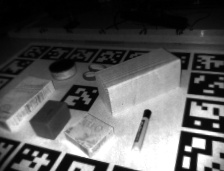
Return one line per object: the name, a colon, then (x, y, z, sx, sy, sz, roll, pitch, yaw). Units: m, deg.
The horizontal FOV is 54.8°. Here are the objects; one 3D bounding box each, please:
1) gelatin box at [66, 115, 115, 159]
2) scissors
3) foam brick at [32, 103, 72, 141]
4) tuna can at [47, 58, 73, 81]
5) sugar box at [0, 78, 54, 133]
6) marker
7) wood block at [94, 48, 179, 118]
gelatin box: (-0.050, 0.116, 0.502, 0.088, 0.030, 0.074, 21, 50, 34)
scissors: (-0.011, -0.036, 0.687, 0.200, 0.016, 0.088, 10, 44, 27)
foam brick: (-0.146, 0.090, 0.534, 0.052, 0.052, 0.078, 7, 44, 23)
tuna can: (-0.176, -0.055, 0.732, 0.085, 0.034, 0.085, -7, 40, 7)
sugar box: (-0.258, 0.050, 0.623, 0.092, 0.045, 0.177, 10, 44, 24)
marker: (0.065, 0.102, 0.495, 0.019, 0.020, 0.121, 7, 45, 22)
wood block: (0.070, -0.011, 0.582, 0.207, 0.092, 0.088, -24, 40, -15)
